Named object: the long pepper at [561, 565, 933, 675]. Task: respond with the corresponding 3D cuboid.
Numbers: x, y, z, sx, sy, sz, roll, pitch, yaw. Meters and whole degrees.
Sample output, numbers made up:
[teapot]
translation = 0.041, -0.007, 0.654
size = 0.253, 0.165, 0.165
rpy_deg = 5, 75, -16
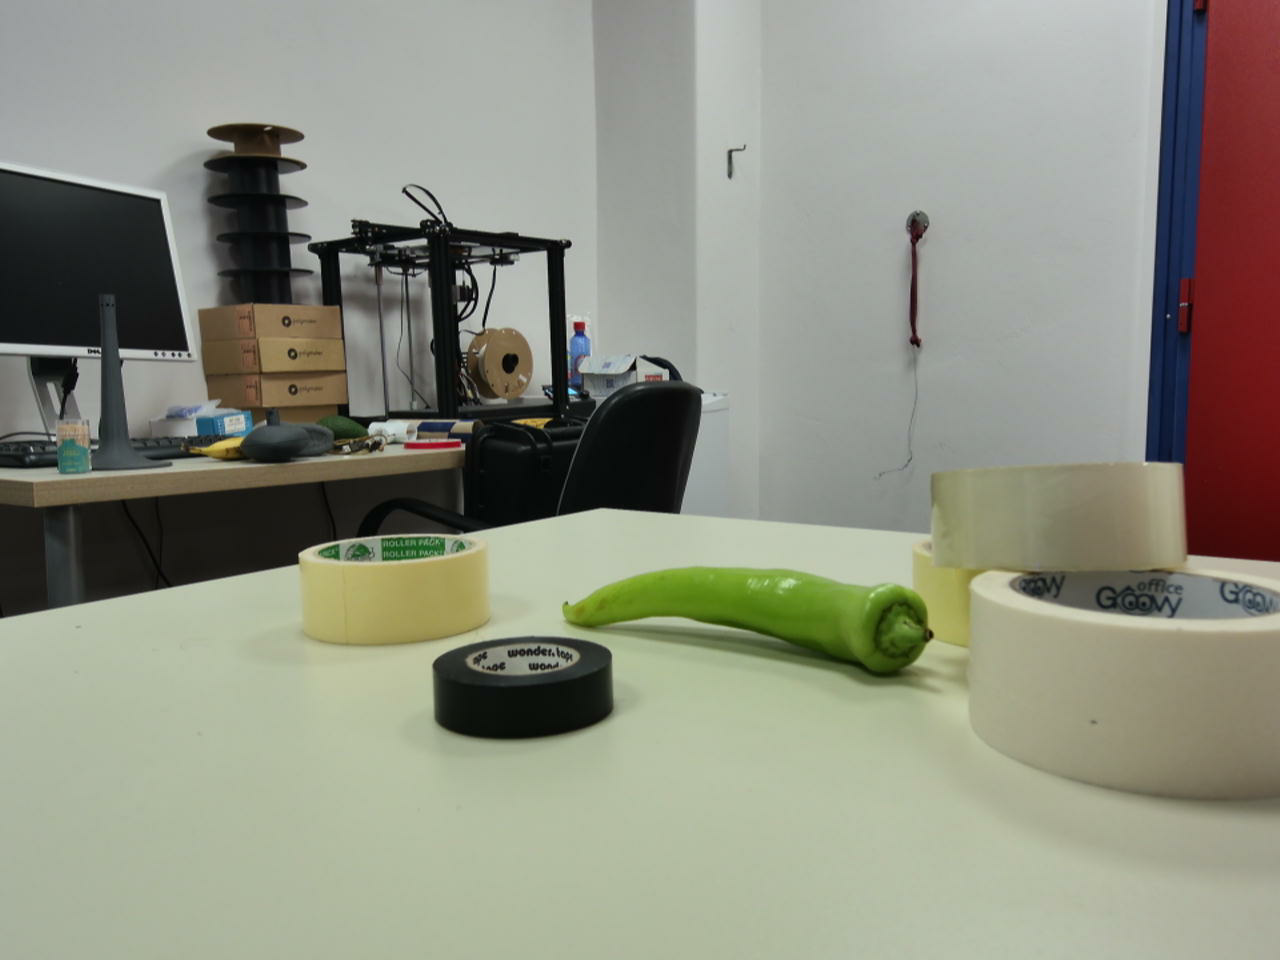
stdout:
[long pepper]
translation = 0.045, 0.056, 0.455
size = 0.197, 0.038, 0.046
rpy_deg = 3, 4, 40
